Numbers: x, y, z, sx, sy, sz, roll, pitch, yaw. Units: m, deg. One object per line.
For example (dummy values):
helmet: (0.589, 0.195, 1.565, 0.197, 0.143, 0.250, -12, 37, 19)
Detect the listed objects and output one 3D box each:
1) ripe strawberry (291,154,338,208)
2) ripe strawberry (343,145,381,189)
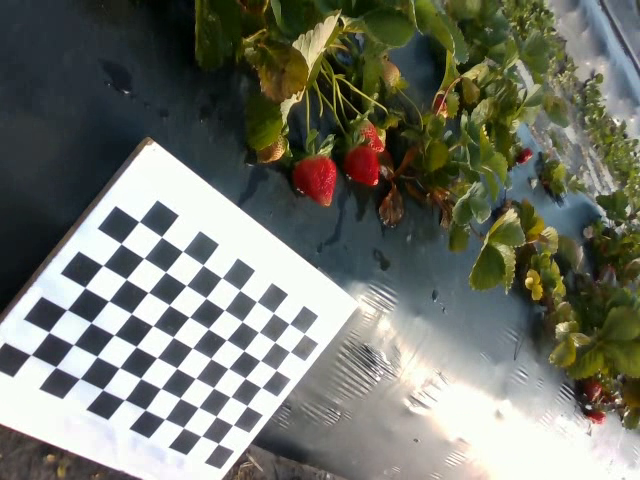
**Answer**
ripe strawberry: (-0.001, -0.060, 0.626, 0.050, 0.065, 0.050, -5, -34, -24)
ripe strawberry: (0.050, -0.082, 0.693, 0.045, 0.055, 0.042, -28, -22, -15)
